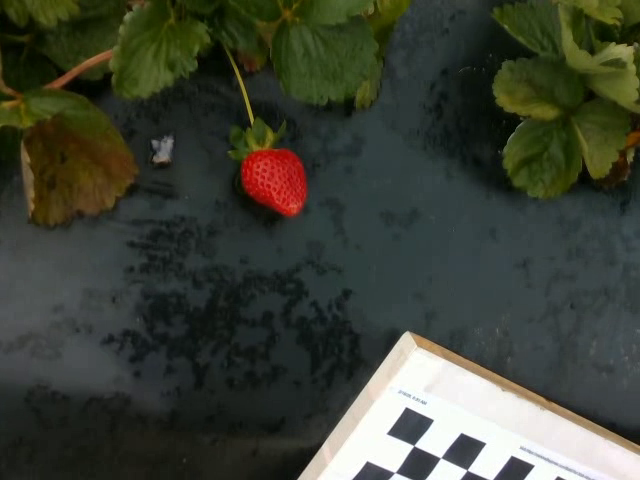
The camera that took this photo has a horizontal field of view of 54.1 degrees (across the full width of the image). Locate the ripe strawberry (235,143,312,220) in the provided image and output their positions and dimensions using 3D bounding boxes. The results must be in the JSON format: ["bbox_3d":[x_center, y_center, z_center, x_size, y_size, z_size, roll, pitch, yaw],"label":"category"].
[{"bbox_3d":[-0.026,-0.035,0.383,0.045,0.054,0.048,-21,-24,1],"label":"ripe strawberry"}]
